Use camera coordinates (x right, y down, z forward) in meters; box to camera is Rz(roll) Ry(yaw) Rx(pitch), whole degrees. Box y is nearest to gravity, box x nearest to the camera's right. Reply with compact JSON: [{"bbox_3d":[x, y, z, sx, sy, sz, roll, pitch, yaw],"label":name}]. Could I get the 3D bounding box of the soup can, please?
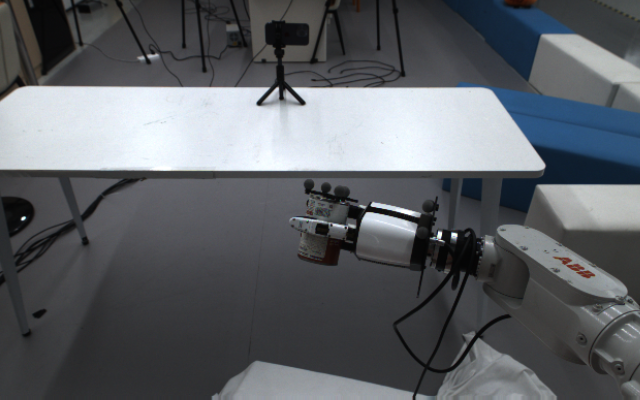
[{"bbox_3d":[0.007,0.048,0.772,0.067,0.101,0.067,12,2,0],"label":"soup can"}]
